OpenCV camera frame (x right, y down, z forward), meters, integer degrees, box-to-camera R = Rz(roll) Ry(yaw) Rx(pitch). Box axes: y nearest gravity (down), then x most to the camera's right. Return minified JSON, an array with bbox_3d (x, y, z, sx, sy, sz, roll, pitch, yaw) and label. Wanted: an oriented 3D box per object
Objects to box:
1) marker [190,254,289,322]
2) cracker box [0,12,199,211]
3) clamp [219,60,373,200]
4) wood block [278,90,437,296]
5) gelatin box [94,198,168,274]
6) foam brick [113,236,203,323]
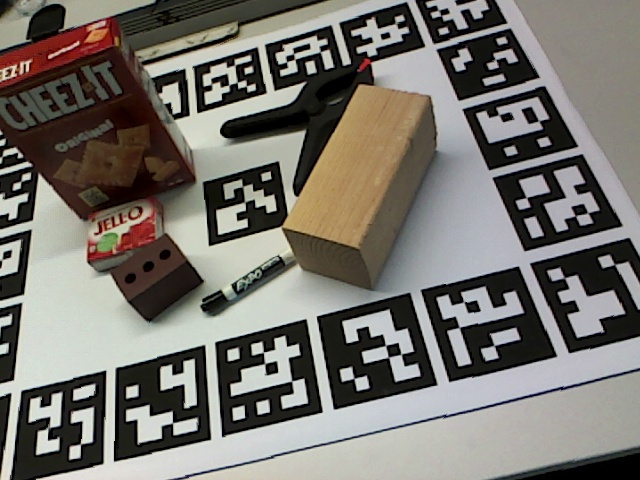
[{"bbox_3d":[-0.091,0.055,0.690,0.121,0.019,0.020,-32,58,-5],"label":"marker"},{"bbox_3d":[-0.259,-0.141,0.738,0.164,0.212,0.072,-17,55,2],"label":"cracker box"},{"bbox_3d":[-0.008,-0.158,0.790,0.202,0.036,0.166,-41,58,-11],"label":"clamp"},{"bbox_3d":[0.048,-0.057,0.684,0.090,0.090,0.206,15,62,26],"label":"wood block"},{"bbox_3d":[-0.234,-0.005,0.765,0.089,0.030,0.073,-16,58,6],"label":"gelatin box"},{"bbox_3d":[-0.185,0.045,0.705,0.078,0.051,0.053,-36,58,-8],"label":"foam brick"}]
